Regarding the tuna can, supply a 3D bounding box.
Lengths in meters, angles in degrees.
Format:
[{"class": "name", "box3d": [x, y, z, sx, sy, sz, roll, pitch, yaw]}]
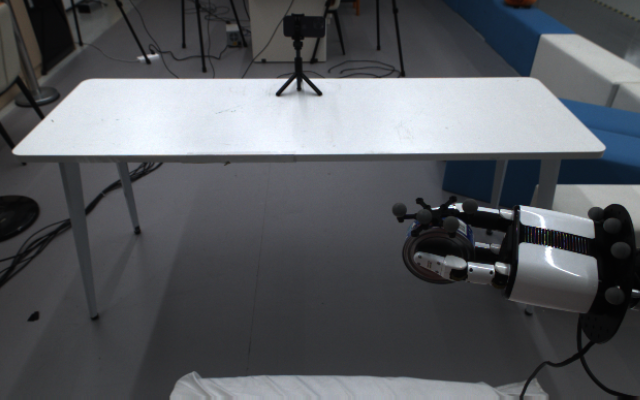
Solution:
[{"class": "tuna can", "box3d": [0.147, 0.058, 0.588, 0.085, 0.085, 0.034, 10, 33, 11]}]
